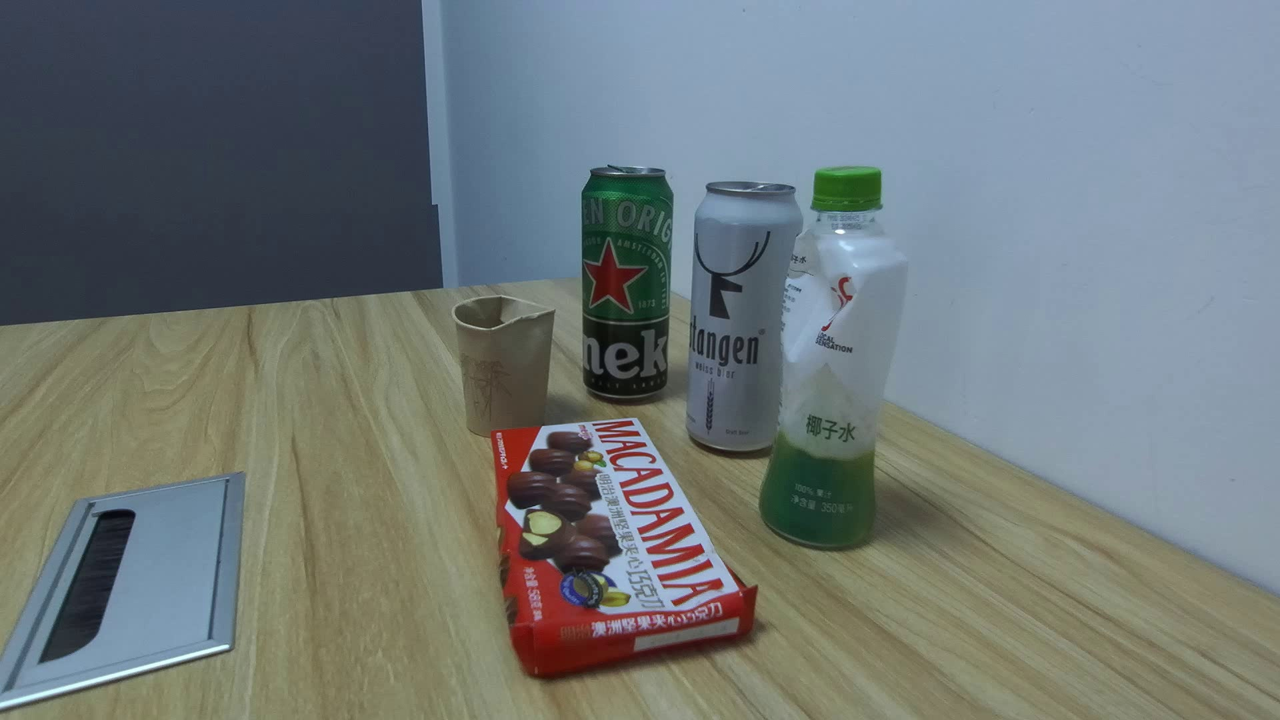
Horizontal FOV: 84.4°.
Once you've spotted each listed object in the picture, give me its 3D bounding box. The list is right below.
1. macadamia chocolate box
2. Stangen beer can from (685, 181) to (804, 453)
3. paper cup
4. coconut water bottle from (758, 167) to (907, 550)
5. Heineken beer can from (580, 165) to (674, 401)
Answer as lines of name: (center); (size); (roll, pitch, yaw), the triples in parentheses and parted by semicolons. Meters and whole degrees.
macadamia chocolate box: (-0.023, 0.083, 0.366); (0.106, 0.028, 0.182); (-5, 23, -16)
Stangen beer can: (0.065, -0.025, 0.453); (0.067, 0.171, 0.067); (2, 18, 0)
paper cup: (-0.097, 0.005, 0.485); (0.066, 0.084, 0.072); (18, 24, 39)
coconut water bottle: (0.098, 0.000, 0.357); (0.069, 0.187, 0.069); (1, 21, 0)
Heineken beer can: (-0.009, -0.055, 0.531); (0.067, 0.169, 0.067); (1, 18, 0)
